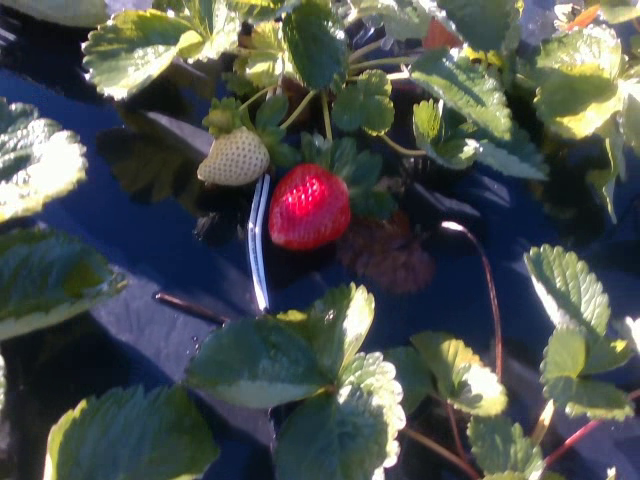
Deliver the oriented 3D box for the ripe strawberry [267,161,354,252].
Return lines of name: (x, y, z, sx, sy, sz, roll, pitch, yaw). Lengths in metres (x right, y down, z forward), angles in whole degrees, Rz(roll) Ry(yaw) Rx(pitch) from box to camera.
ripe strawberry: (-0.003, -0.020, 0.348, 0.040, 0.063, 0.080, -20, 17, 41)
